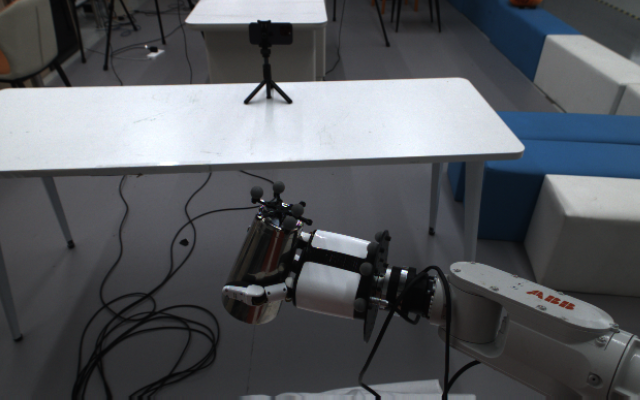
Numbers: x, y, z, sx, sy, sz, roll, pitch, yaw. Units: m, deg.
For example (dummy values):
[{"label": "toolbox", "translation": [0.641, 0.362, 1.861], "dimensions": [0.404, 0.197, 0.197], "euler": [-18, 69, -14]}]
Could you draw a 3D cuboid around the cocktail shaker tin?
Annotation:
[{"label": "cocktail shaker tin", "translation": [-0.080, 0.088, 0.699], "dimensions": [0.093, 0.170, 0.093], "euler": [15, 31, -10]}]
